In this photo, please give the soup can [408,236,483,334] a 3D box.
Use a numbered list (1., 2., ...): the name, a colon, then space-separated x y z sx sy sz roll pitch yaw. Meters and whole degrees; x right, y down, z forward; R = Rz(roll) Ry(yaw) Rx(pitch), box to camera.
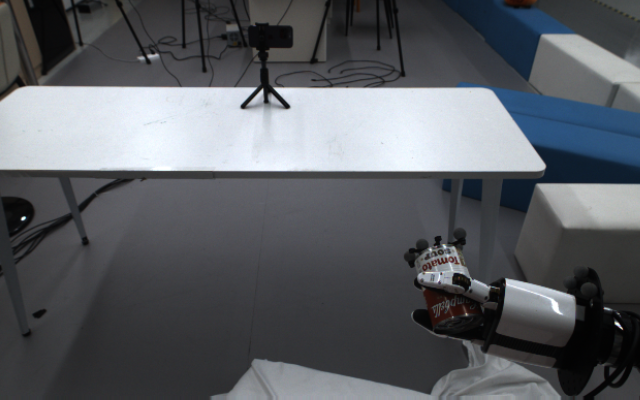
1. soup can: 0.172 0.117 0.646 0.067 0.067 0.101 -5 57 -10
